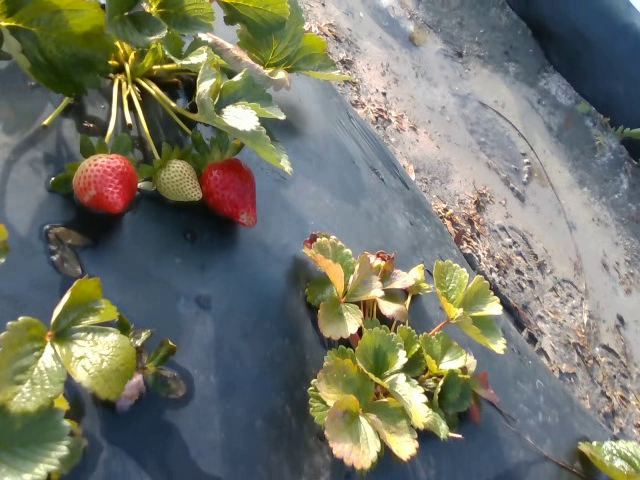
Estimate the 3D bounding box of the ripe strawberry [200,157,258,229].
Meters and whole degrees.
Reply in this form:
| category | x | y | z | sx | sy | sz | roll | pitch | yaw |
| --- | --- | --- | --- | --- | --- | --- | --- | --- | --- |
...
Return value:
| category | x | y | z | sx | sy | sz | roll | pitch | yaw |
| --- | --- | --- | --- | --- | --- | --- | --- | --- | --- |
| ripe strawberry | -0.065 | -0.033 | 0.473 | 0.048 | 0.065 | 0.050 | -24 | -9 | -2 |
